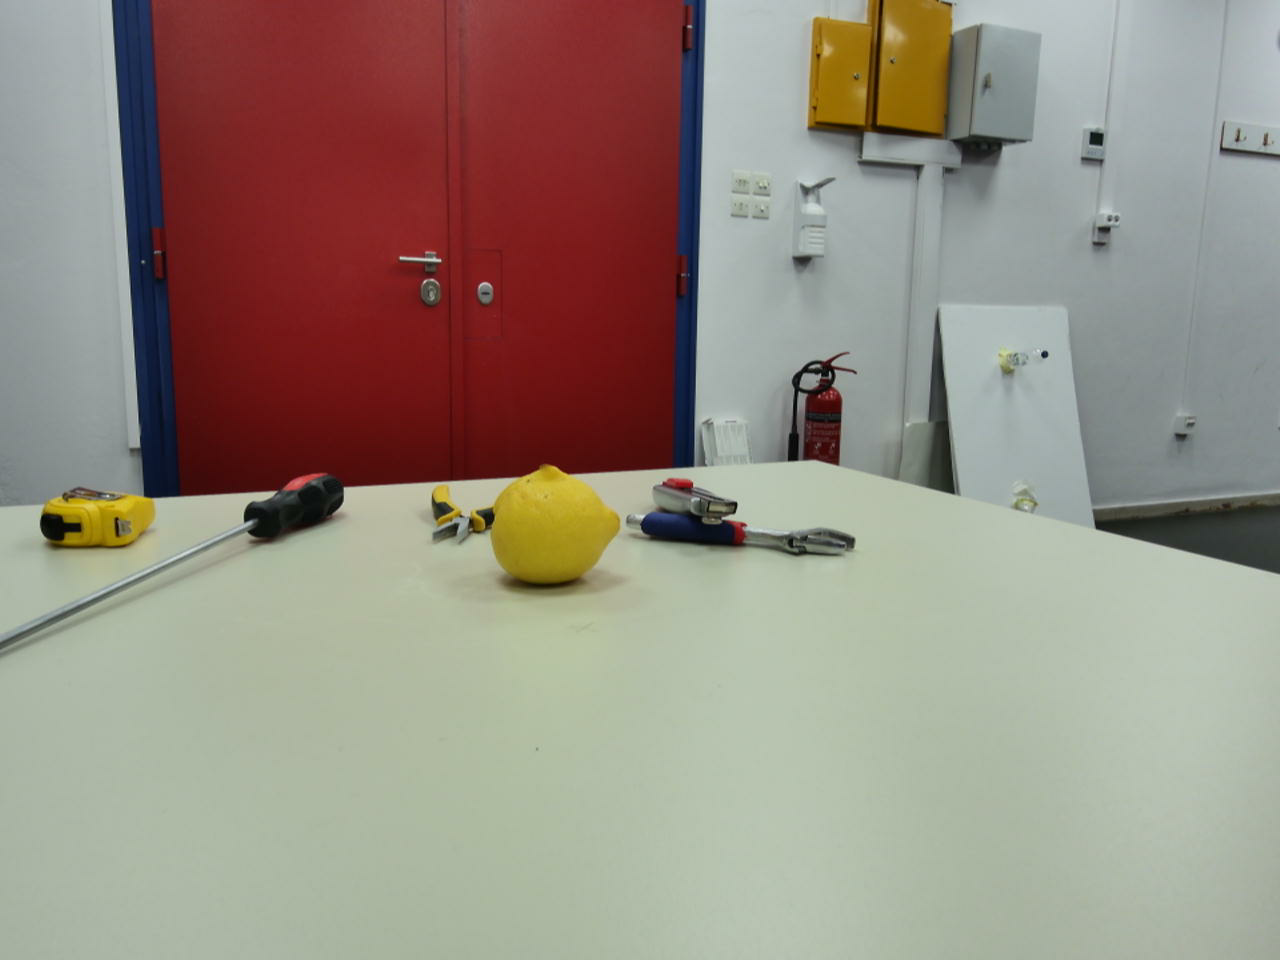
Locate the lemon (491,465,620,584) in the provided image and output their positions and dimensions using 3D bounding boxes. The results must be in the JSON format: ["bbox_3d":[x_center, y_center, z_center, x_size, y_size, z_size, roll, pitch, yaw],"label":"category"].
[{"bbox_3d":[-0.055,0.026,0.598,0.071,0.071,0.070,4,9,31],"label":"lemon"}]
